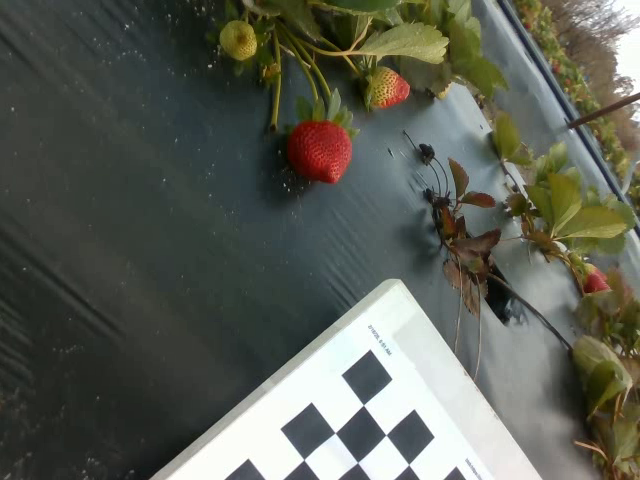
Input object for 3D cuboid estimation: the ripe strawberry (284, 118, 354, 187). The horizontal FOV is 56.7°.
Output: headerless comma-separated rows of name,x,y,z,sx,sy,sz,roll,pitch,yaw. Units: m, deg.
ripe strawberry,0.000,-0.050,0.353,0.045,0.042,0.055,3,24,-13
